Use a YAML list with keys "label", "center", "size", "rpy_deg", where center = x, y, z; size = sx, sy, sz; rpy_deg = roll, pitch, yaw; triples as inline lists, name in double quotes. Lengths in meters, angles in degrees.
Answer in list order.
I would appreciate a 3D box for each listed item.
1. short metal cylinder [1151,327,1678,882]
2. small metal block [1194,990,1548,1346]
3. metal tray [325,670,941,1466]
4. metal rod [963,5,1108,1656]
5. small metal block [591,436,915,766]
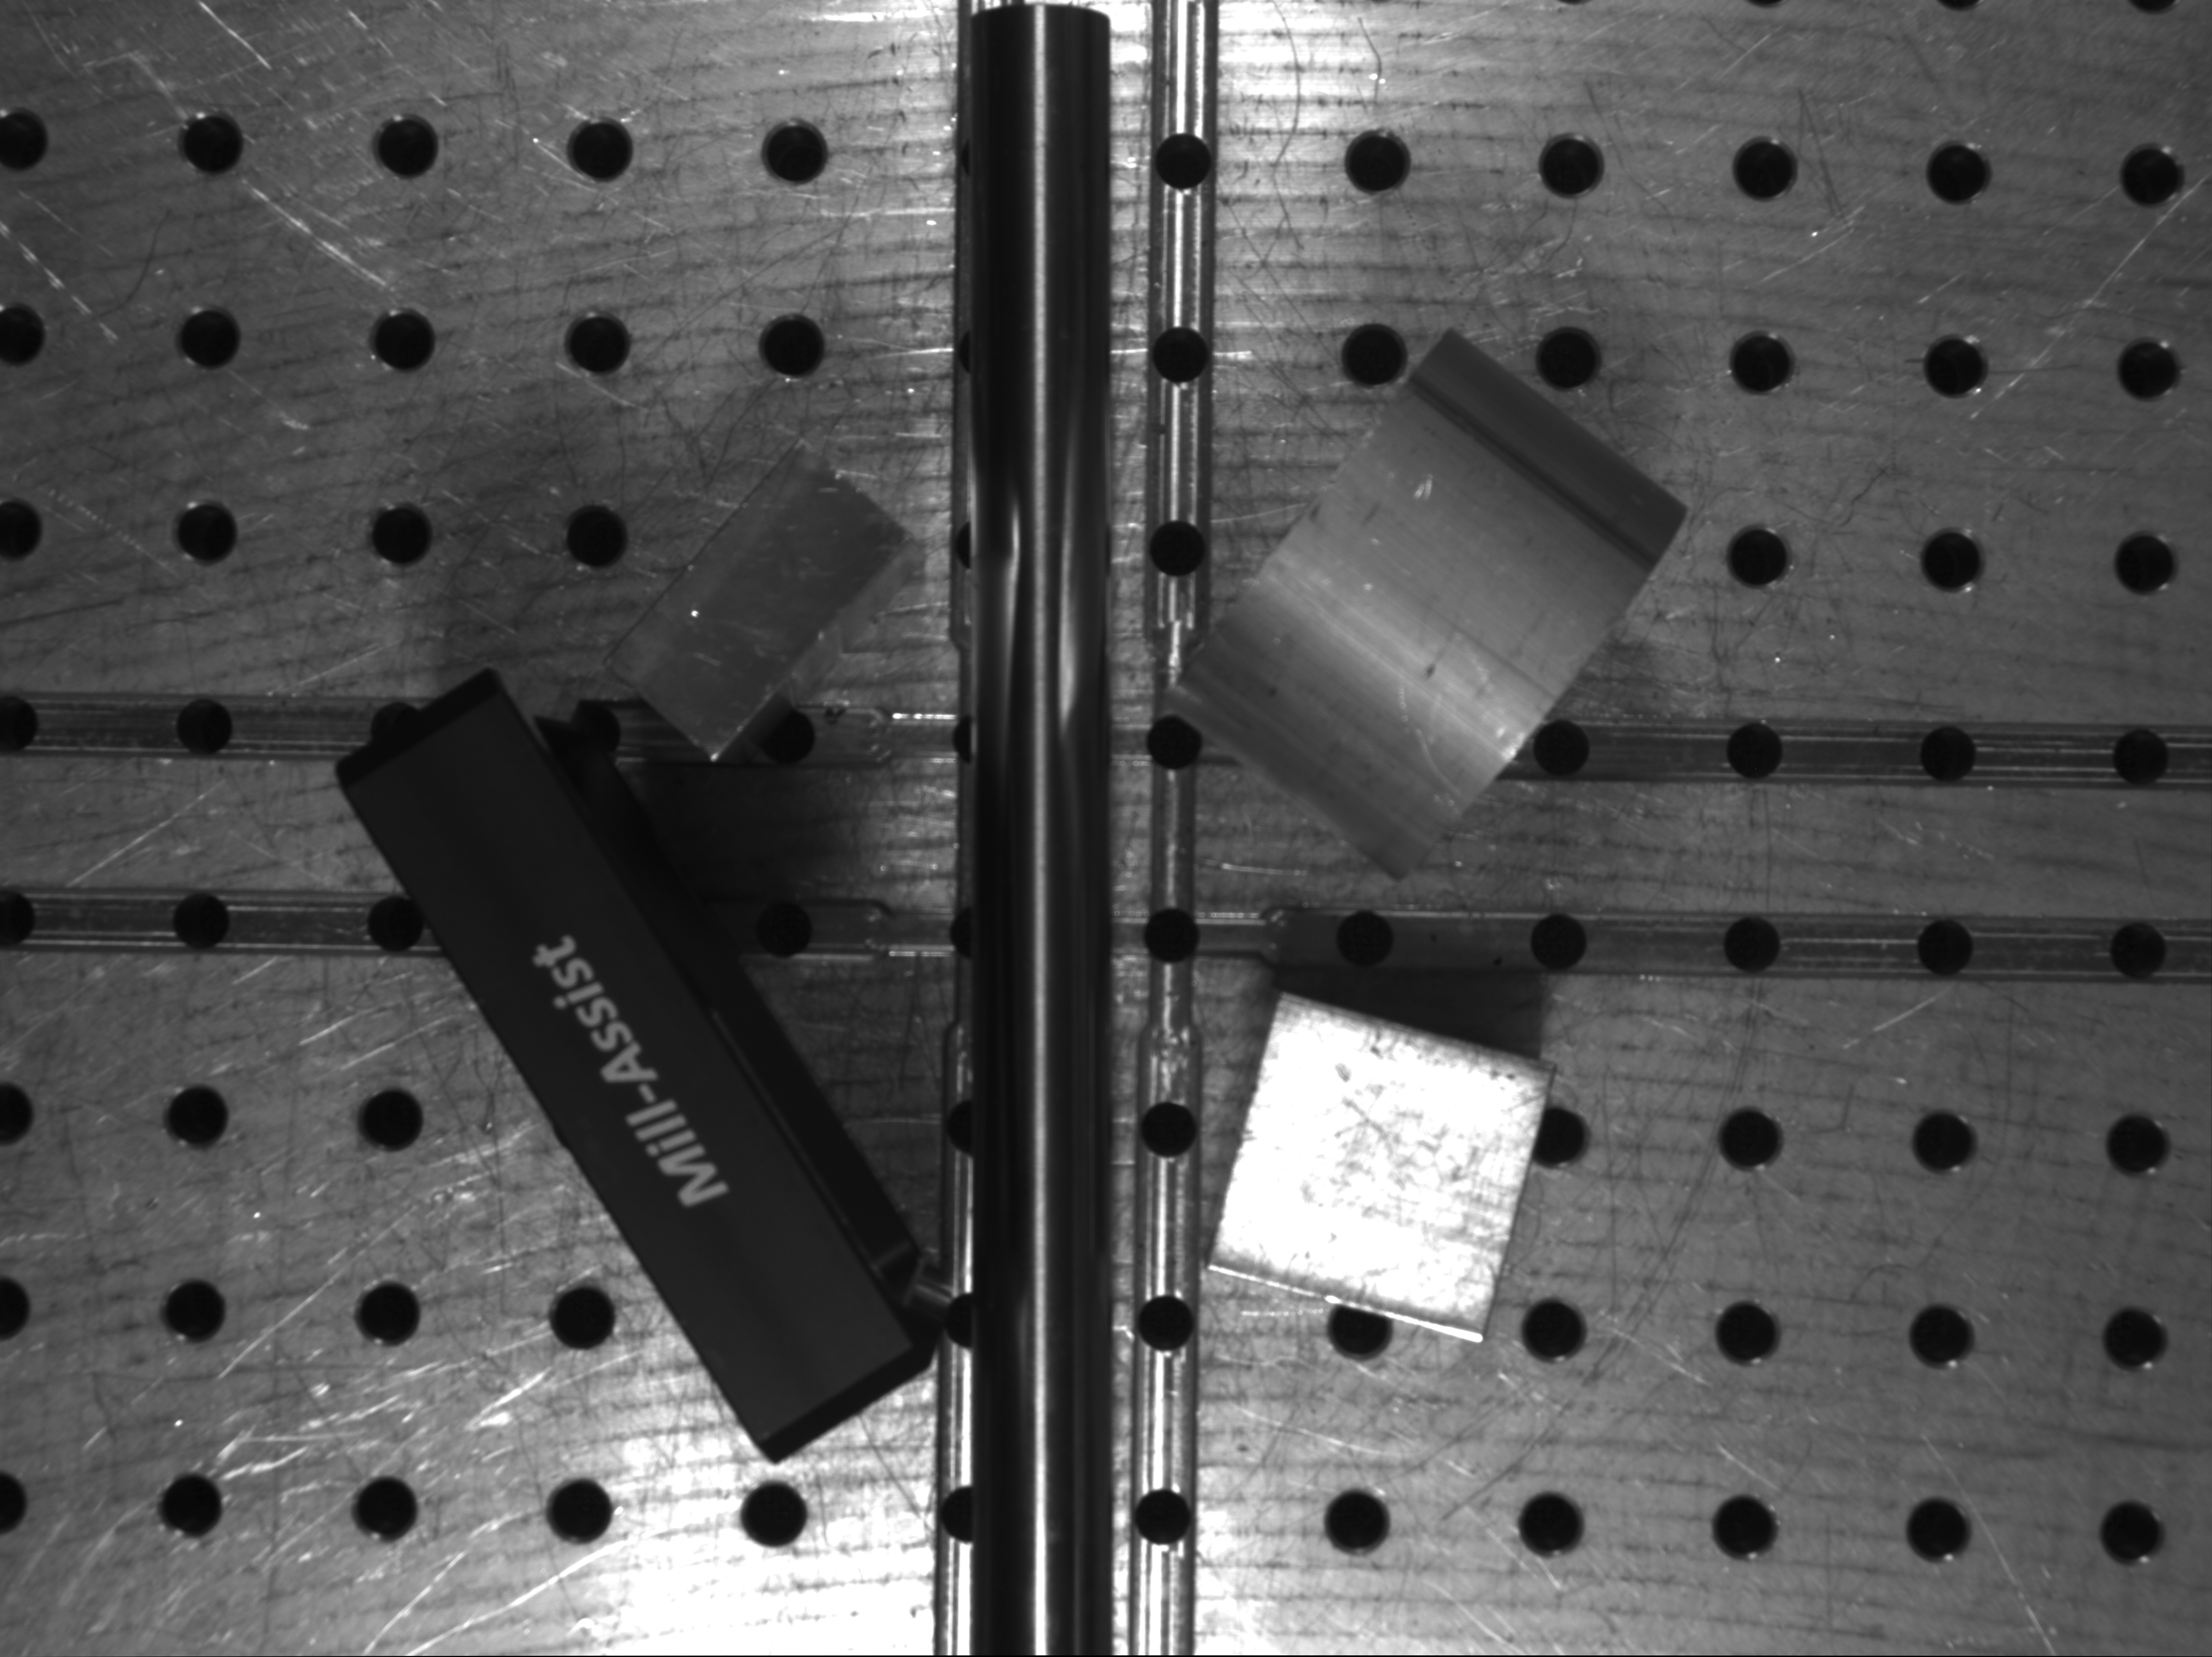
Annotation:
- label: "short metal cylinder"
  center: [0.052, -0.038, 0.620]
  size: [0.050, 0.080, 0.080]
  rpy_deg: [38, 90, 0]
- label: "small metal block"
  center: [0.046, 0.059, 0.648]
  size: [0.050, 0.025, 0.050]
  rpy_deg: [15, 90, 0]
- label: "metal tray"
  center: [-0.076, 0.038, 0.613]
  size: [0.030, 0.090, 0.130]
  rpy_deg: [-32, 90, 0]
- label: "metal rod"
  center: [-0.012, 0.007, 0.647]
  size: [0.025, 0.025, 0.300]
  rpy_deg: [0, 90, 0]
- label: "small metal block"
  center: [-0.060, -0.038, 0.634]
  size: [0.025, 0.050, 0.050]
  rpy_deg: [41, 90, 0]
